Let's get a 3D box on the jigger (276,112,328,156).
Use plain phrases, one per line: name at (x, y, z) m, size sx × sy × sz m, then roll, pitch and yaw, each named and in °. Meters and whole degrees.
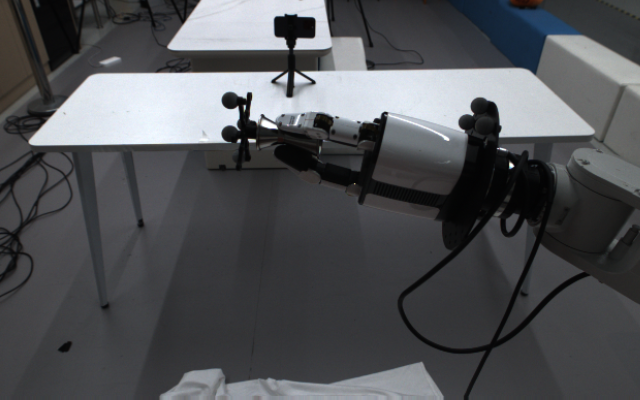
jigger at (-0.025, -0.073, 0.529) m, size 0.071 × 0.043 × 0.043 m, roll 5°, pitch 35°, yaw 3°
